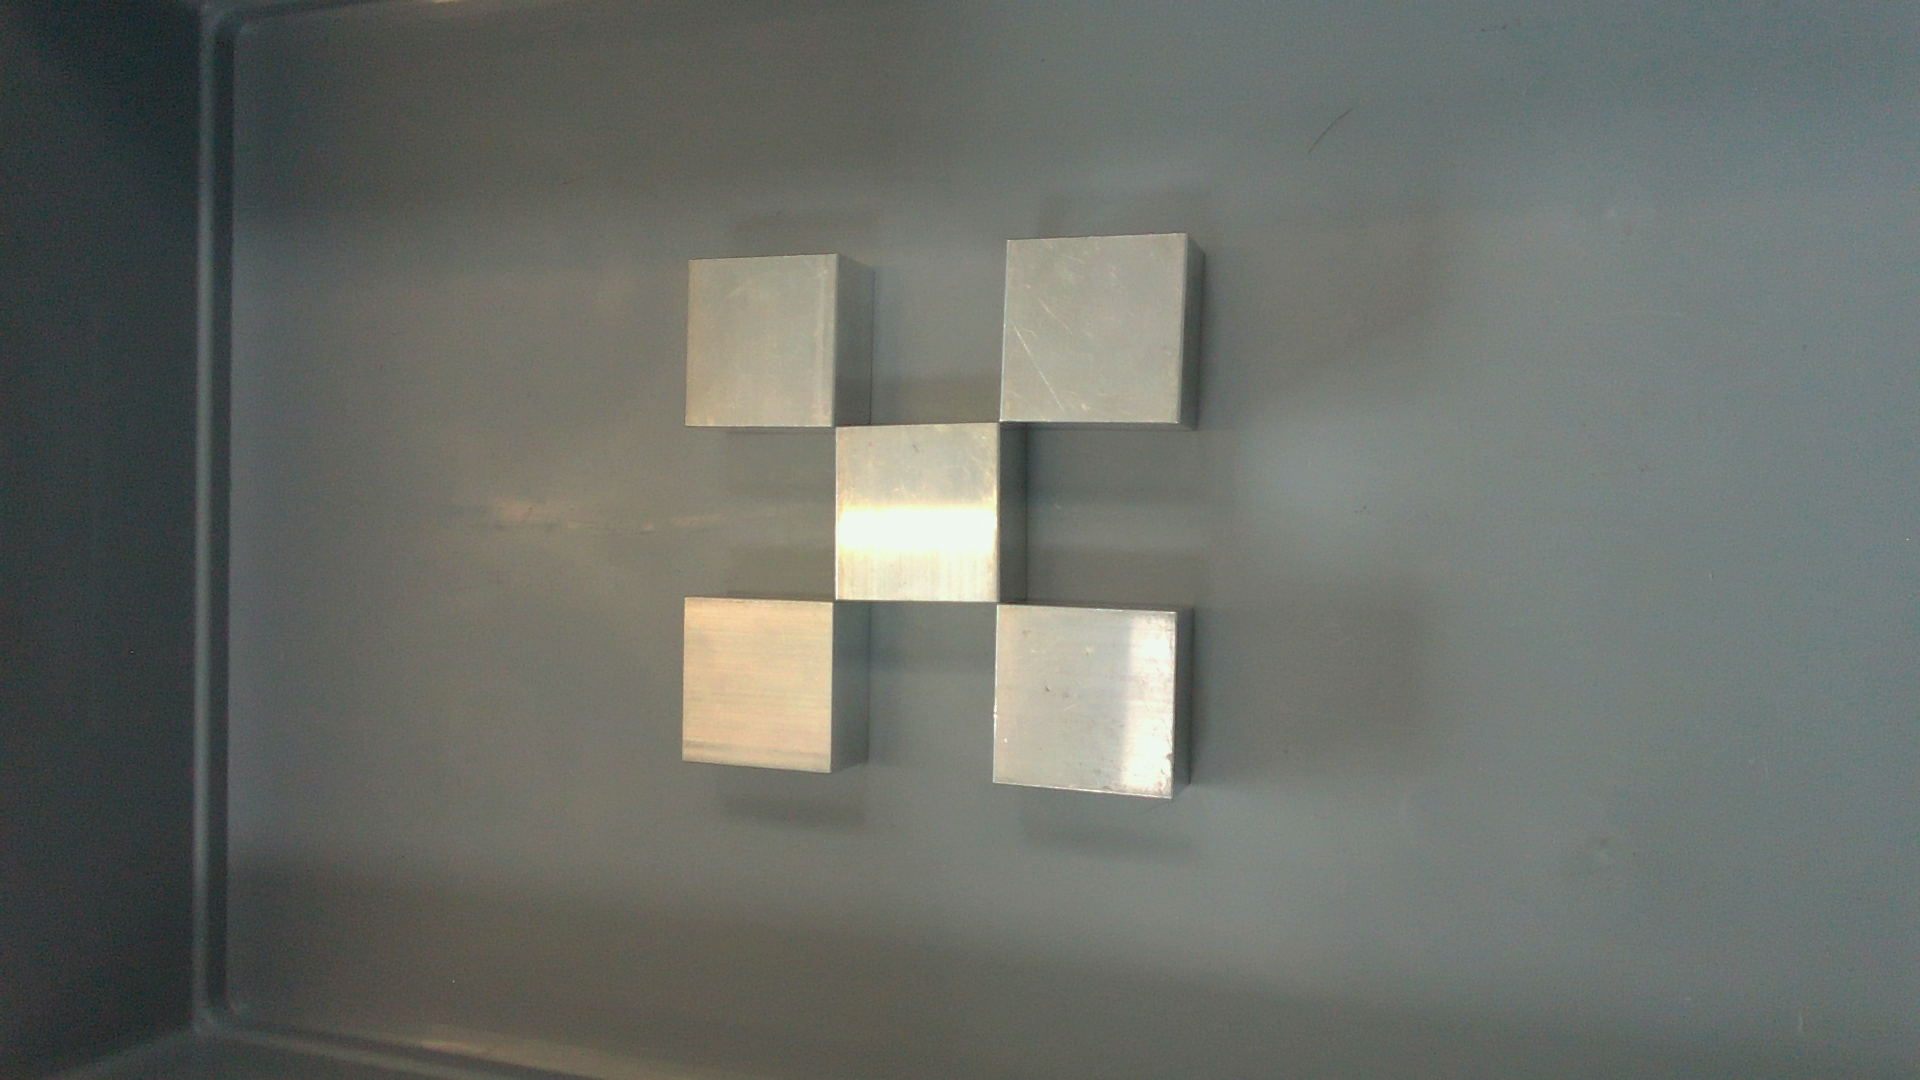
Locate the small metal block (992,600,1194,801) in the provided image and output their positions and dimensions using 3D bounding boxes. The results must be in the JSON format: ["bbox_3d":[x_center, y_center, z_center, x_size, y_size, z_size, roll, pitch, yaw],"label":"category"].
[{"bbox_3d":[0.037,0.043,0.381,0.050,0.025,0.050,1,91,20],"label":"small metal block"}]

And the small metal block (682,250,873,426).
[{"bbox_3d":[-0.055,-0.059,0.414,0.050,0.025,0.050,2,91,20],"label":"small metal block"}]

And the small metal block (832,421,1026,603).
[{"bbox_3d":[-0.009,-0.008,0.397,0.050,0.025,0.050,0,90,20],"label":"small metal block"}]

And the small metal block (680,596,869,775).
[{"bbox_3d":[-0.056,0.042,0.414,0.050,0.025,0.050,1,90,20],"label":"small metal block"}]

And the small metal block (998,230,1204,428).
[{"bbox_3d":[0.039,-0.057,0.380,0.050,0.025,0.050,3,91,20],"label":"small metal block"}]
